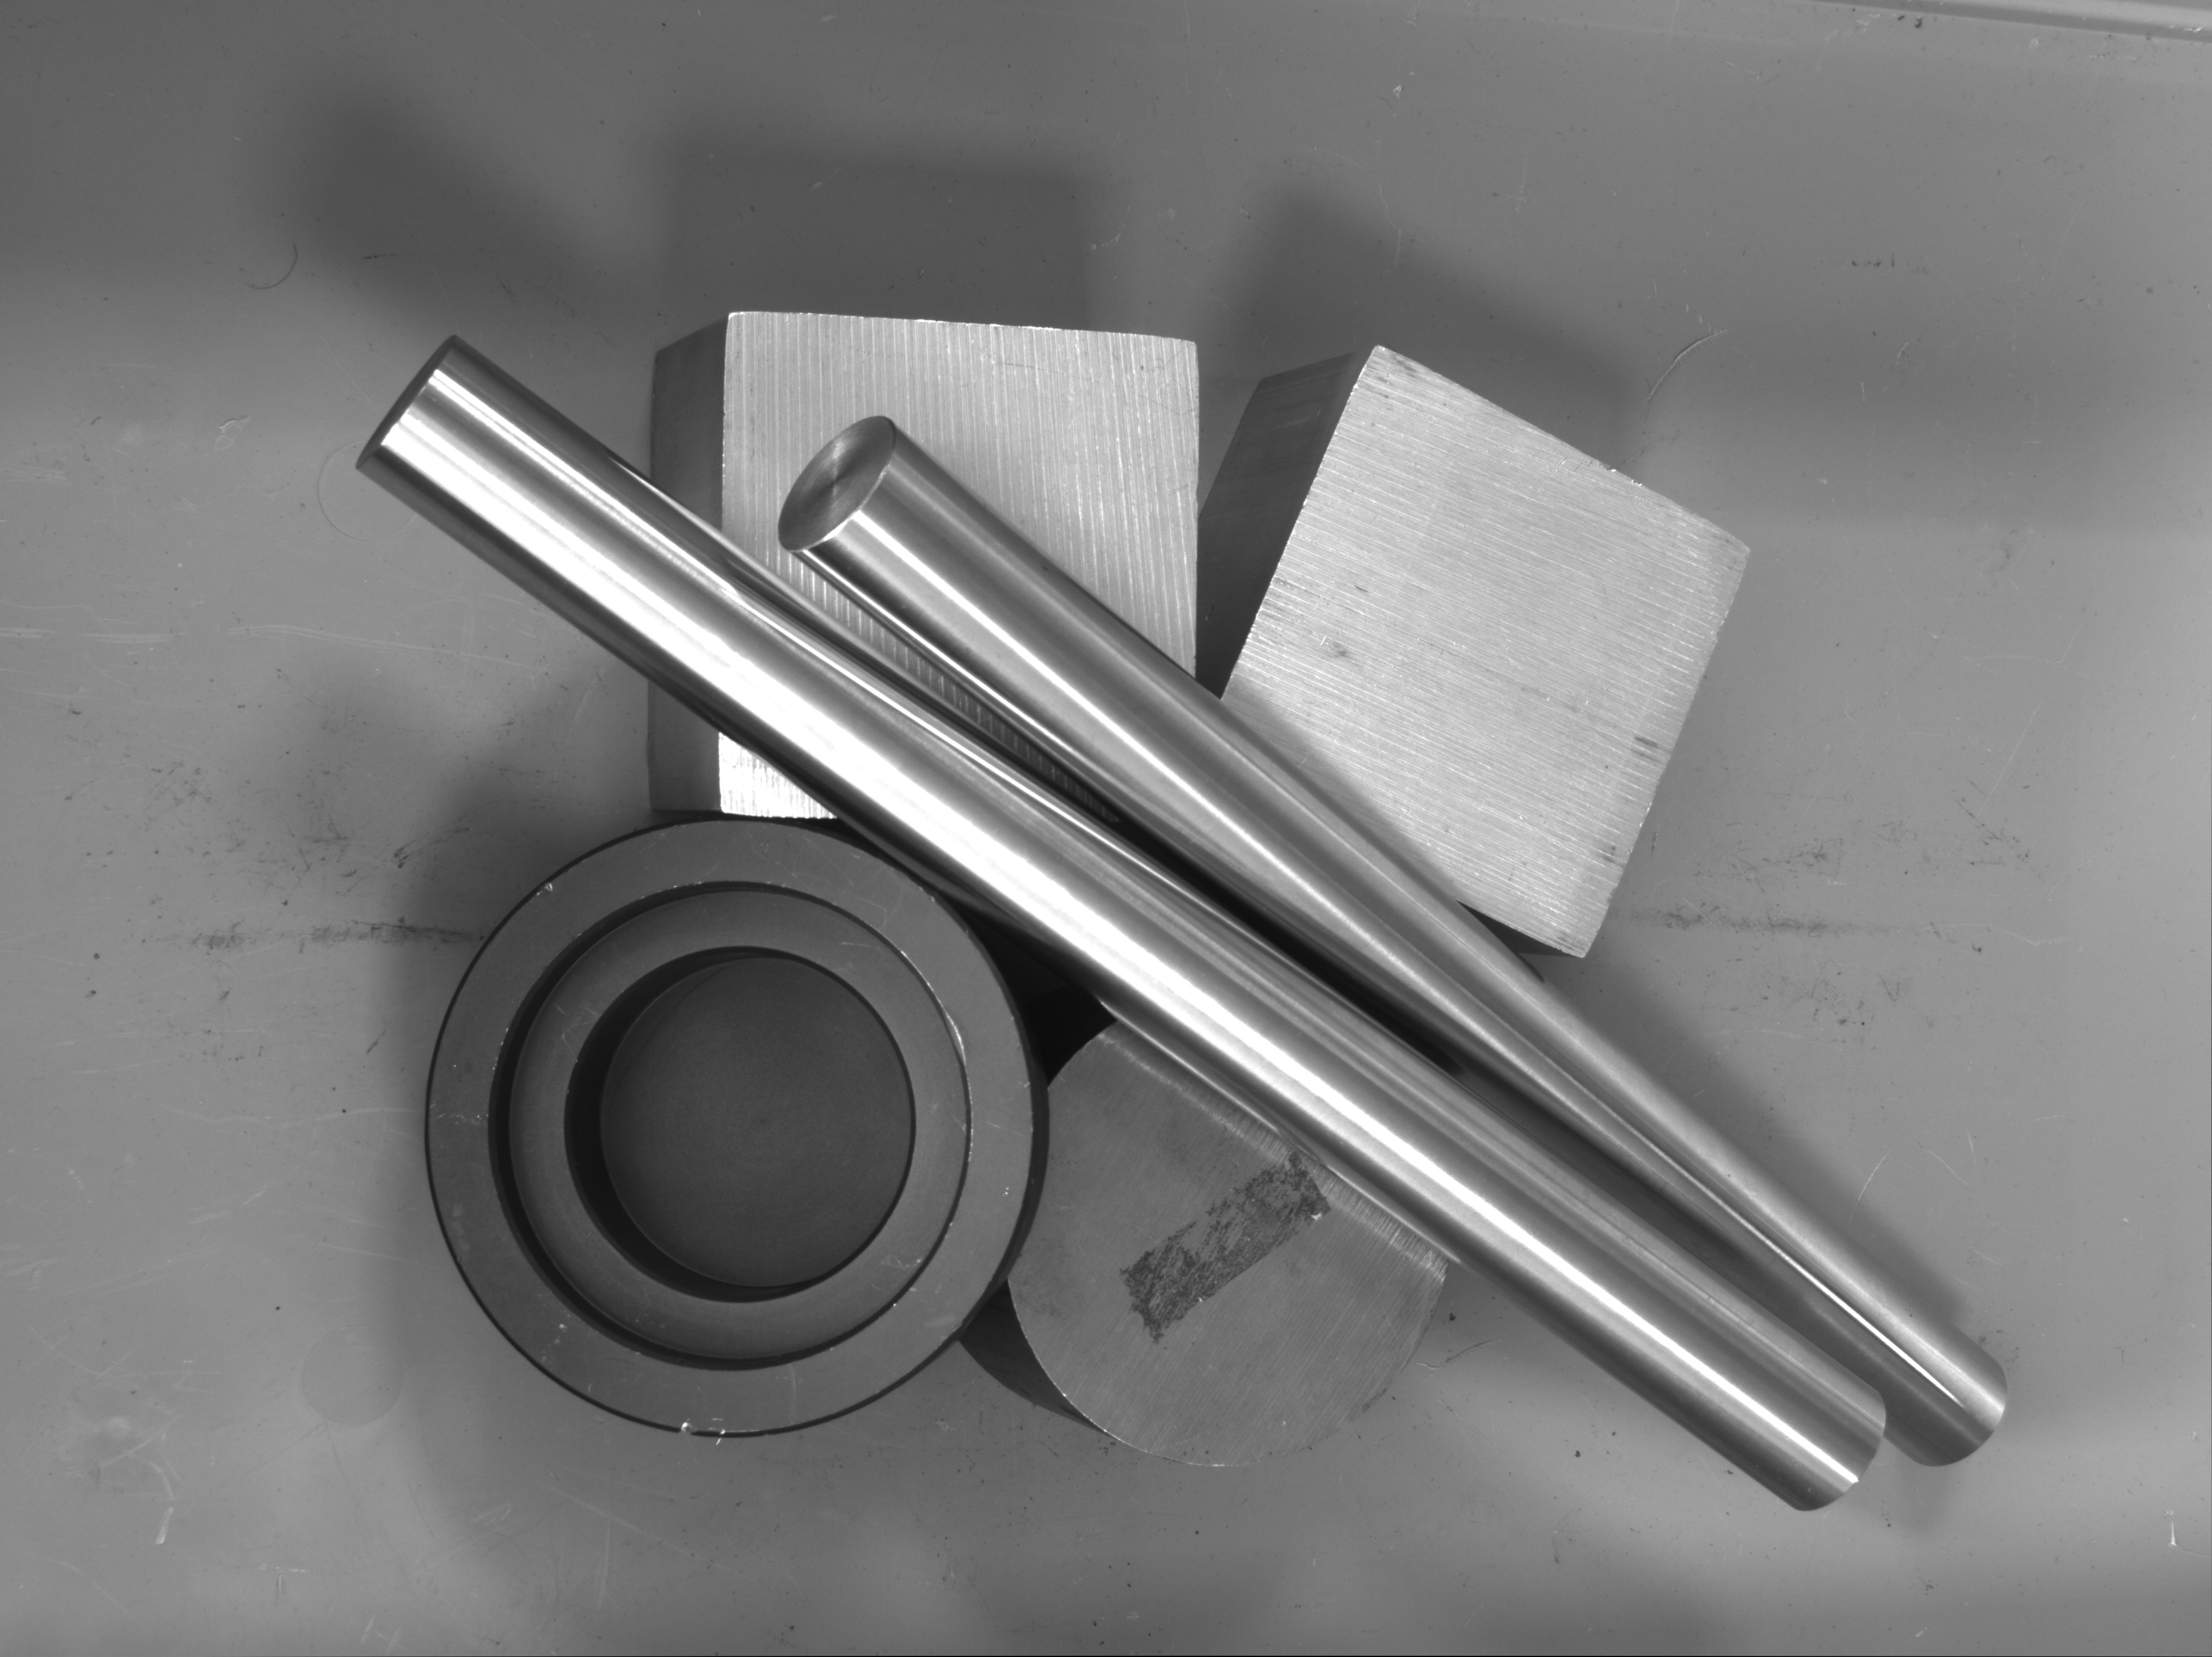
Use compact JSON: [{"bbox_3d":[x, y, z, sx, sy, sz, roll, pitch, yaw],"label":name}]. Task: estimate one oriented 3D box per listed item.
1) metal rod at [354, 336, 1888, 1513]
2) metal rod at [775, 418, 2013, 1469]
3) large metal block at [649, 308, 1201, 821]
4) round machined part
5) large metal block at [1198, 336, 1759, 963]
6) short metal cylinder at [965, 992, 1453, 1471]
[{"bbox_3d":[0.011,0.022,0.592,0.301,0.025,0.025,37,78,-17],"label":"metal rod"},{"bbox_3d":[0.061,0.030,0.624,0.301,0.025,0.025,39,77,-30],"label":"metal rod"},{"bbox_3d":[-0.031,-0.041,0.614,0.080,0.050,0.080,1,90,-20],"label":"large metal block"},{"bbox_3d":[-0.058,0.048,0.600,0.098,0.042,0.098,0,87,4],"label":"round machined part"},{"bbox_3d":[0.056,-0.030,0.648,0.080,0.050,0.080,26,81,-18],"label":"large metal block"},{"bbox_3d":[0.013,0.067,0.633,0.080,0.050,0.080,0,90,-20],"label":"short metal cylinder"}]
